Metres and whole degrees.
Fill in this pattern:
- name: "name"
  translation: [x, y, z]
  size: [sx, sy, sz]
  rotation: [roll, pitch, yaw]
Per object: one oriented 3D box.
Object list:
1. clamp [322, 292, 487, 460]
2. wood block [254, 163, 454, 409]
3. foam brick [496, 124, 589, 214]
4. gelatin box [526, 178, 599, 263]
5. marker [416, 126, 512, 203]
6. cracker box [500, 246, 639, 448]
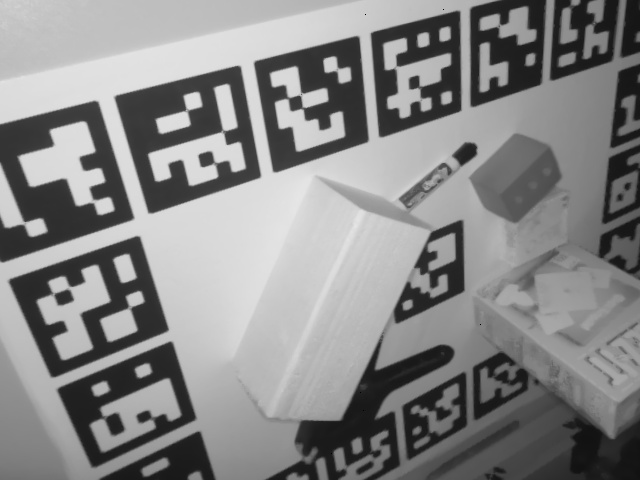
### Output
- name: "clamp"
  translation: [0.078, 0.154, 0.759]
  size: [0.203, 0.036, 0.166]
  rotation: [-48, 124, -4]
- name: "wood block"
  translation: [0.030, 0.046, 0.658]
  size: [0.091, 0.090, 0.205]
  rotation: [15, 105, -35]
- name: "foam brick"
  translation: [0.240, -0.076, 0.744]
  size: [0.078, 0.051, 0.053]
  rotation: [-43, 123, -7]
- name: "gelatin box"
  translation: [0.284, -0.024, 0.806]
  size: [0.090, 0.030, 0.073]
  rotation: [-22, 118, -20]
- name: "marker"
  translation: [0.150, -0.077, 0.710]
  size: [0.122, 0.019, 0.019]
  rotation: [-39, 122, -10]
- name: "cracker box"
  translation: [0.331, 0.104, 0.767]
  size: [0.166, 0.212, 0.071]
  rotation: [-23, 122, -16]
